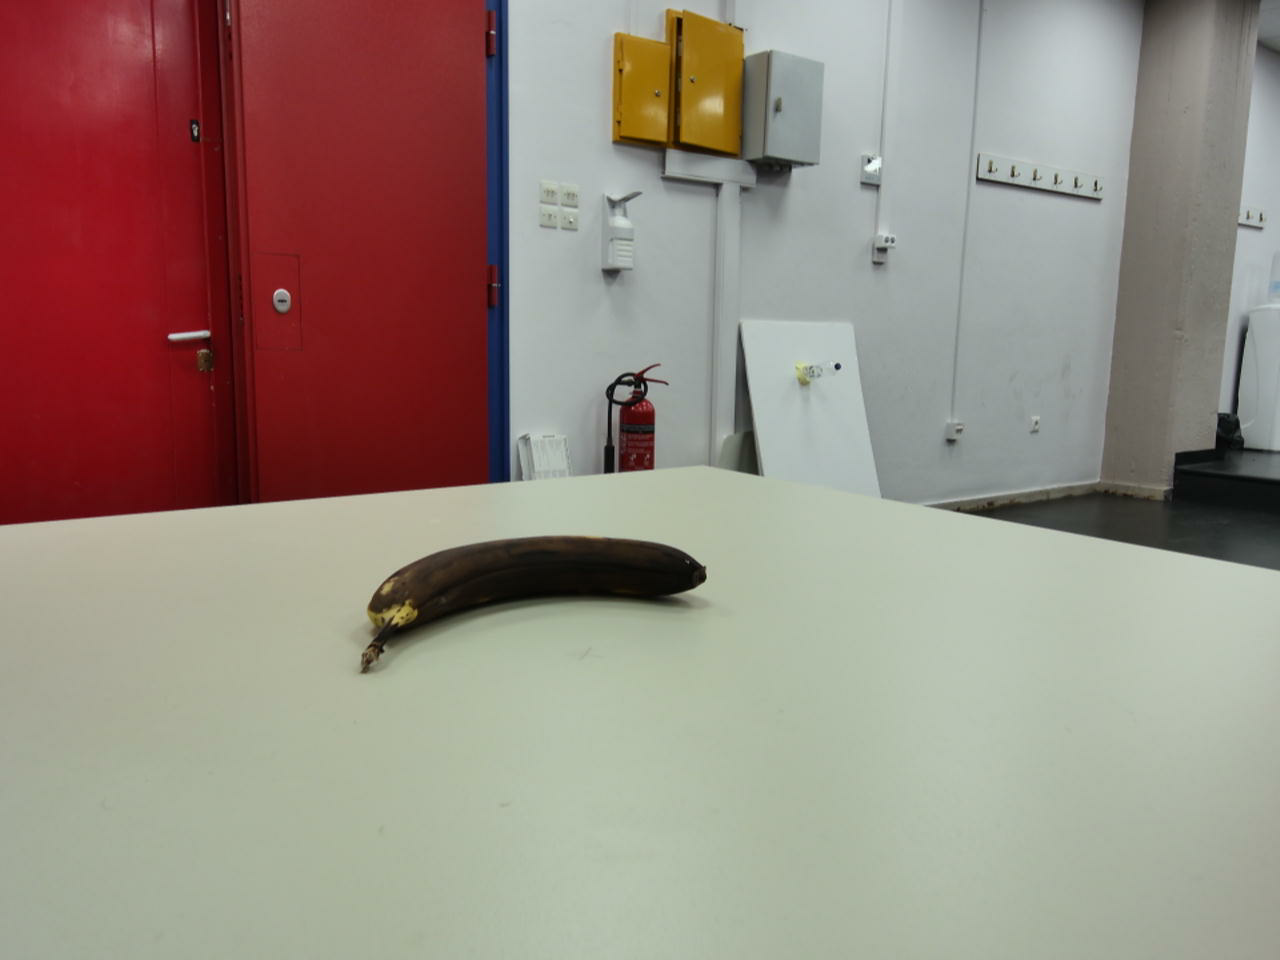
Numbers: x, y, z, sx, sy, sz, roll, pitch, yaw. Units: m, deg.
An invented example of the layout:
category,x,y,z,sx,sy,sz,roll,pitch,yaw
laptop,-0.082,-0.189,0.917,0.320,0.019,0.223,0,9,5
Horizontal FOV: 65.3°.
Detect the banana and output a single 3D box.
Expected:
category,x,y,z,sx,sy,sz,roll,pitch,yaw
banana,-0.062,0.050,0.499,0.188,0.033,0.091,-4,7,-36
